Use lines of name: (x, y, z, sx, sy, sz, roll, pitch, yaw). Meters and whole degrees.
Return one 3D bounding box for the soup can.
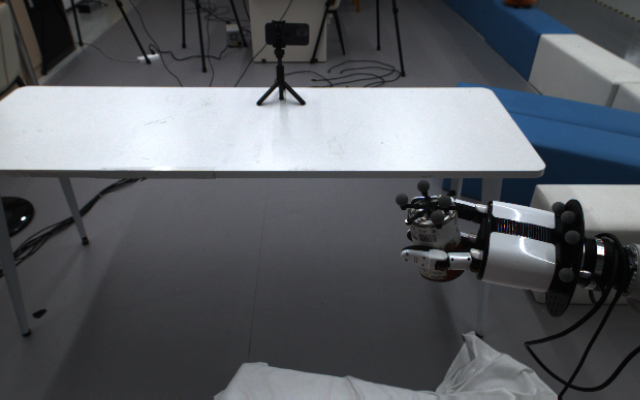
soup can: (0.166, 0.054, 0.679, 0.067, 0.101, 0.067, -13, 31, 8)
